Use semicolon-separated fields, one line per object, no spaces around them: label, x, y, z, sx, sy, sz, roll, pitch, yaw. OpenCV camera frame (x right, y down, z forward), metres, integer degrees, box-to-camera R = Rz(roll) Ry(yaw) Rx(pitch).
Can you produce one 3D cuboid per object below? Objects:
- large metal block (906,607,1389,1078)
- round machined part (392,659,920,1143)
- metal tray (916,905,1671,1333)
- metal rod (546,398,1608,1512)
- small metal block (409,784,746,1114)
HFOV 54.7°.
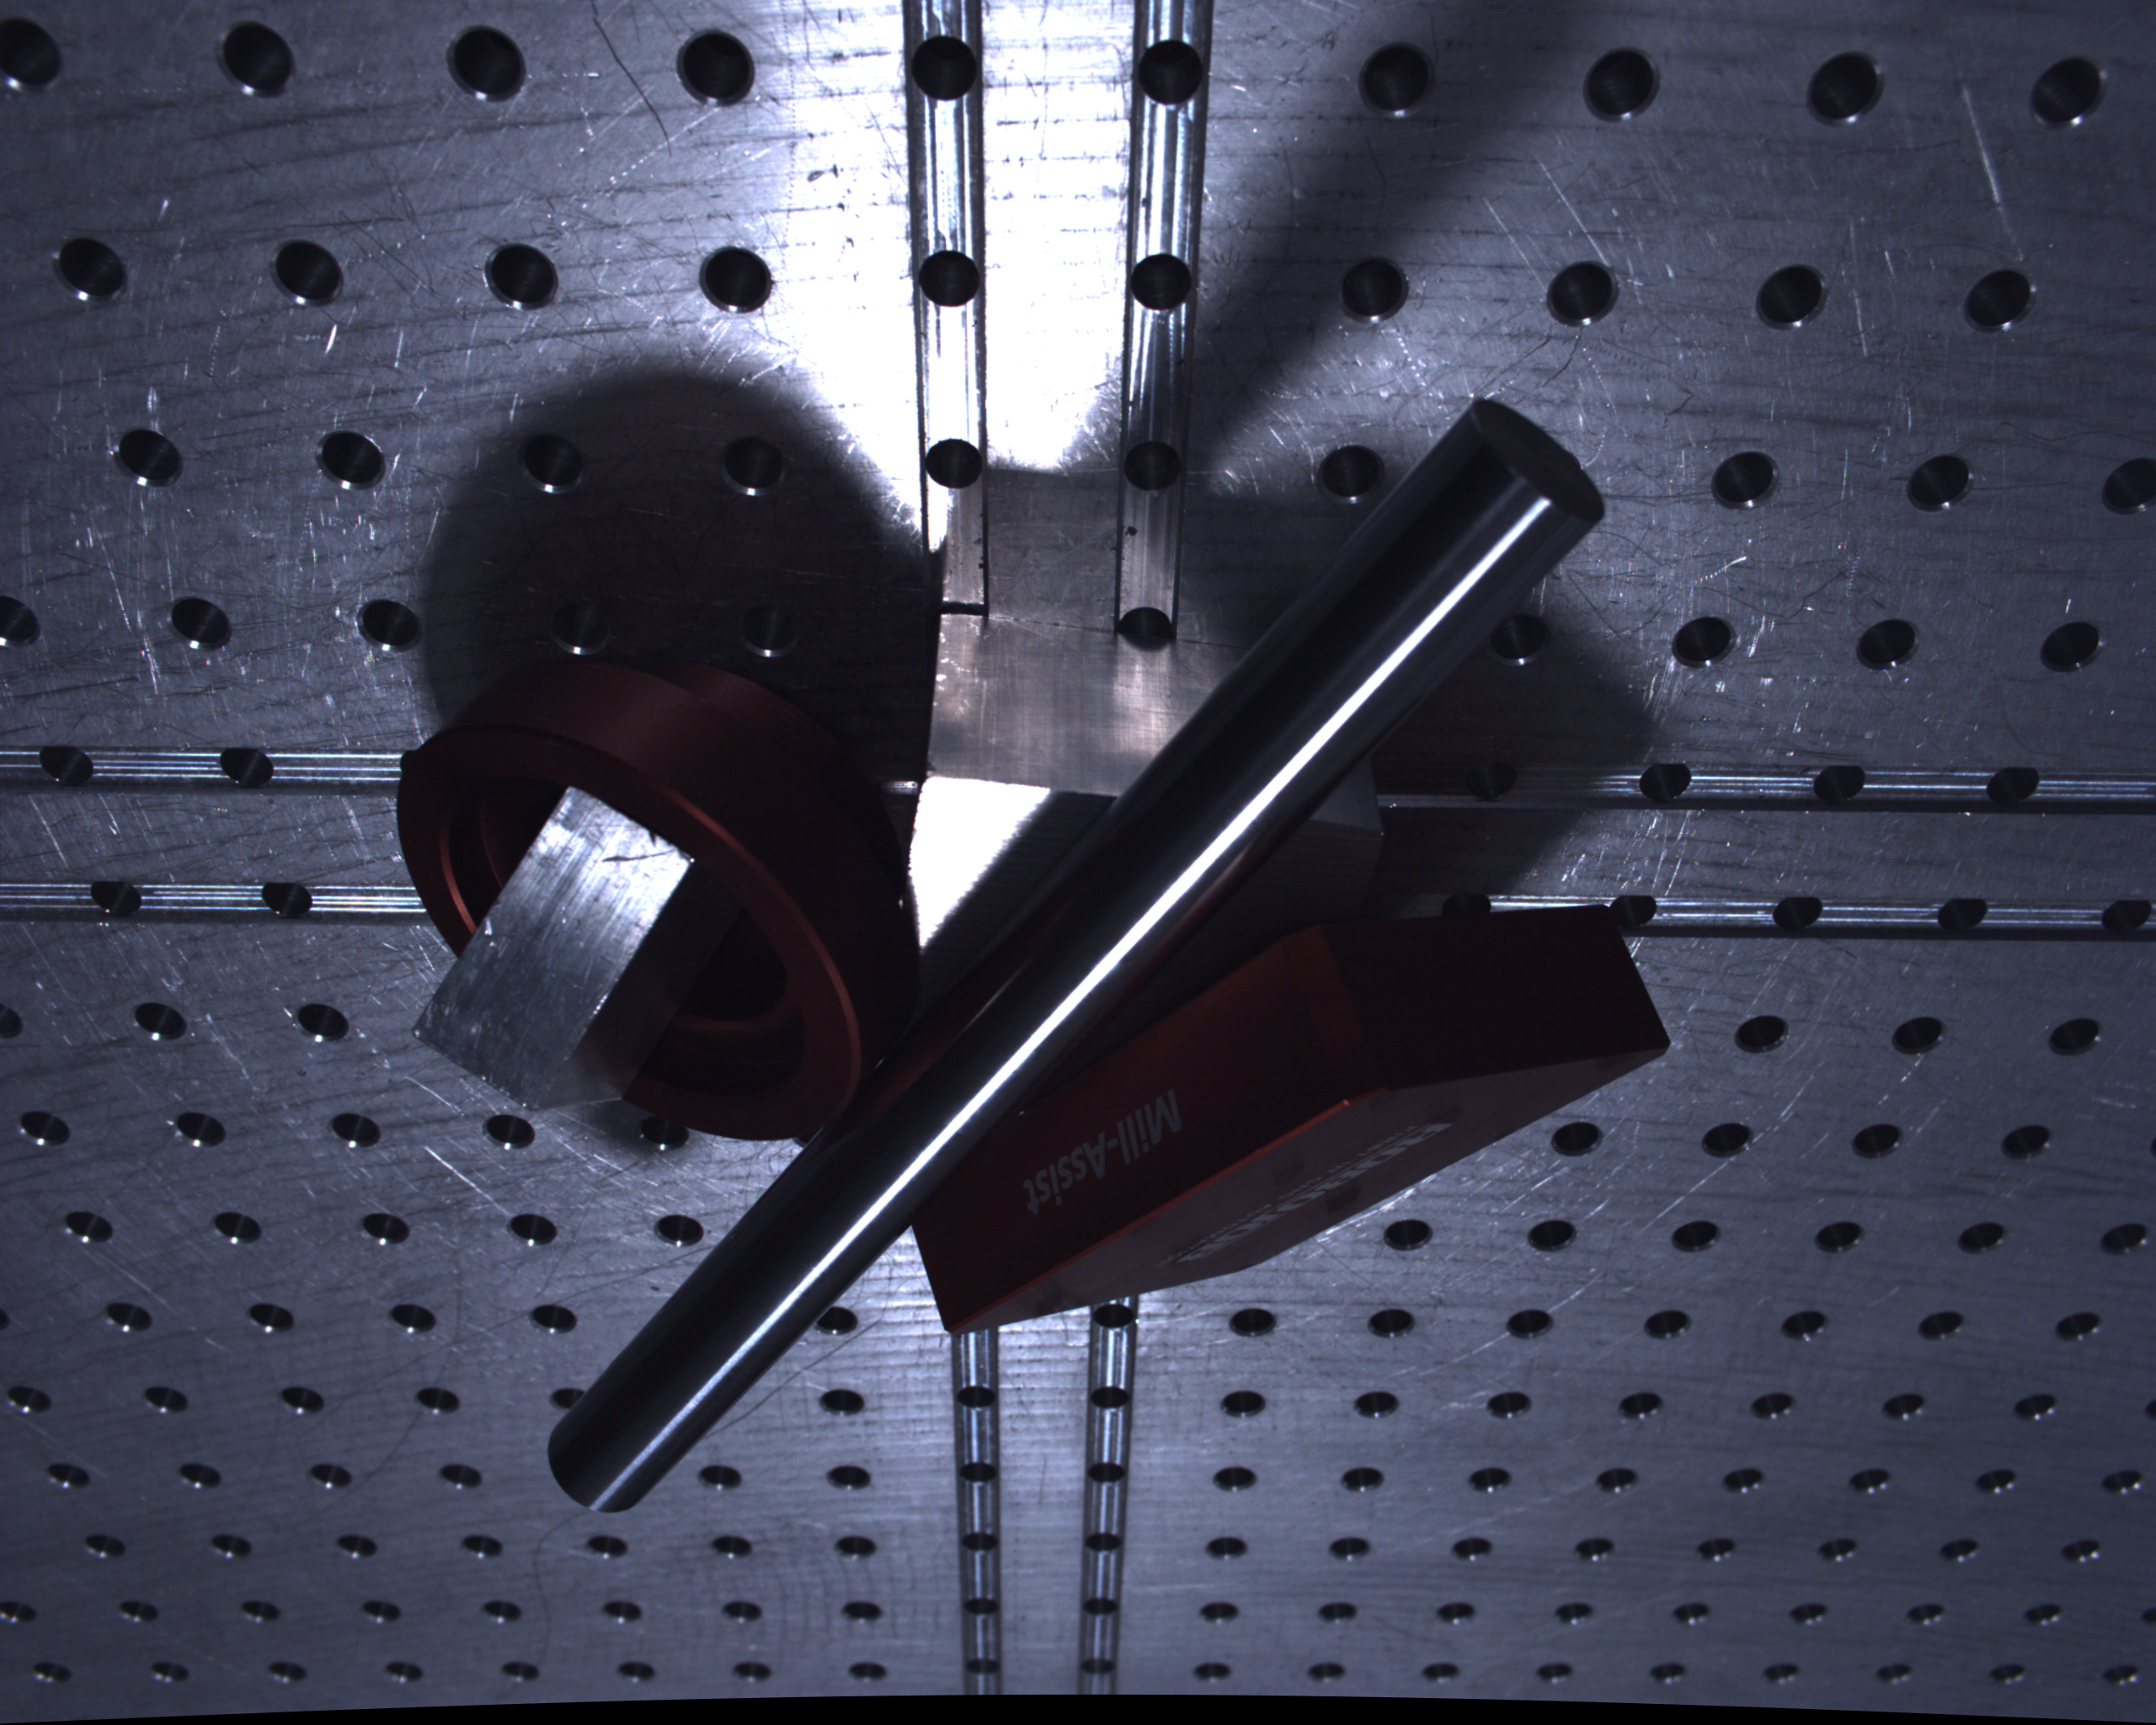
large metal block;0.007;0.003;0.398;0.081;0.050;0.079;7;130;-6
round machined part;-0.072;0.003;0.384;0.098;0.042;0.097;17;136;18
metal tray;0.038;0.052;0.409;0.091;0.030;0.129;-2;154;-41
metal rod;-0.019;0.036;0.376;0.025;0.025;0.298;28;125;-22
small metal block;-0.085;0.016;0.371;0.025;0.050;0.050;33;88;6
